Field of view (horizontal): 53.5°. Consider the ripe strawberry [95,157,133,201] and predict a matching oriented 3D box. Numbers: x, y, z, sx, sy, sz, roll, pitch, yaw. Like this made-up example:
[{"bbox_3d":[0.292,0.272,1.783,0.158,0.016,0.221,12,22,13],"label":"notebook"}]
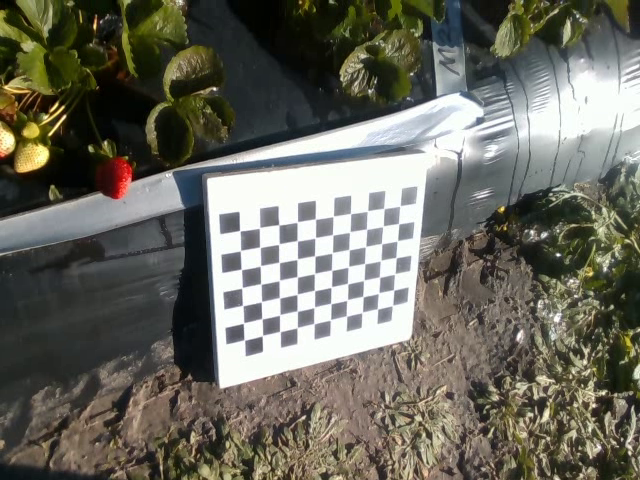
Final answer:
[{"bbox_3d":[-0.167,-0.048,0.514,0.036,0.038,0.046,-10,40,-21],"label":"ripe strawberry"}]
